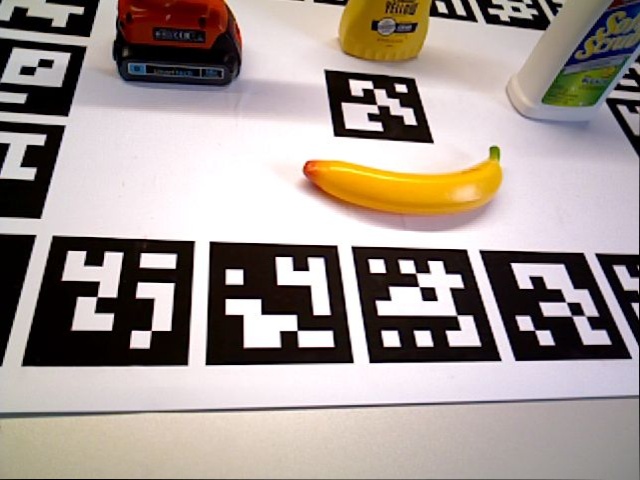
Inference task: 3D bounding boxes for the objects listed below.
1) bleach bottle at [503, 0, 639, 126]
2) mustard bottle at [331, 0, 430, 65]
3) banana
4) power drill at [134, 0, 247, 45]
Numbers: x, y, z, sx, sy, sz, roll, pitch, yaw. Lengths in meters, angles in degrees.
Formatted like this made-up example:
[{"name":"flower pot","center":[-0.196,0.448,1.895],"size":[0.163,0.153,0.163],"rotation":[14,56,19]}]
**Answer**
[{"name":"bleach bottle","center":[0.276,-0.225,0.505],"size":[0.102,0.257,0.067],"rotation":[10,53,-7]},{"name":"mustard bottle","center":[0.079,-0.267,0.530],"size":[0.095,0.196,0.058],"rotation":[-3,56,-18]},{"name":"banana","center":[0.081,-0.055,0.465],"size":[0.195,0.040,0.073],"rotation":[-3,58,-12]},{"name":"power drill","center":[-0.094,-0.256,0.443],"size":[0.182,0.191,0.057],"rotation":[-4,56,-11]}]
